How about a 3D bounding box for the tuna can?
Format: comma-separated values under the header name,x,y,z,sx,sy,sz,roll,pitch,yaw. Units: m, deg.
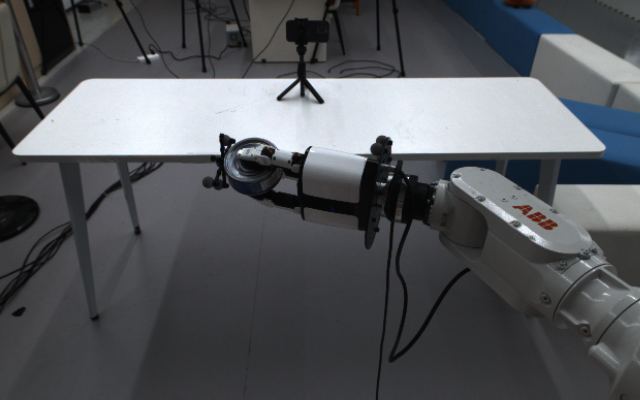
name,x,y,z,sx,sy,sz,roll,pitch,yaw
tuna can,-0.099,-0.052,0.723,0.085,0.034,0.085,-2,58,3
